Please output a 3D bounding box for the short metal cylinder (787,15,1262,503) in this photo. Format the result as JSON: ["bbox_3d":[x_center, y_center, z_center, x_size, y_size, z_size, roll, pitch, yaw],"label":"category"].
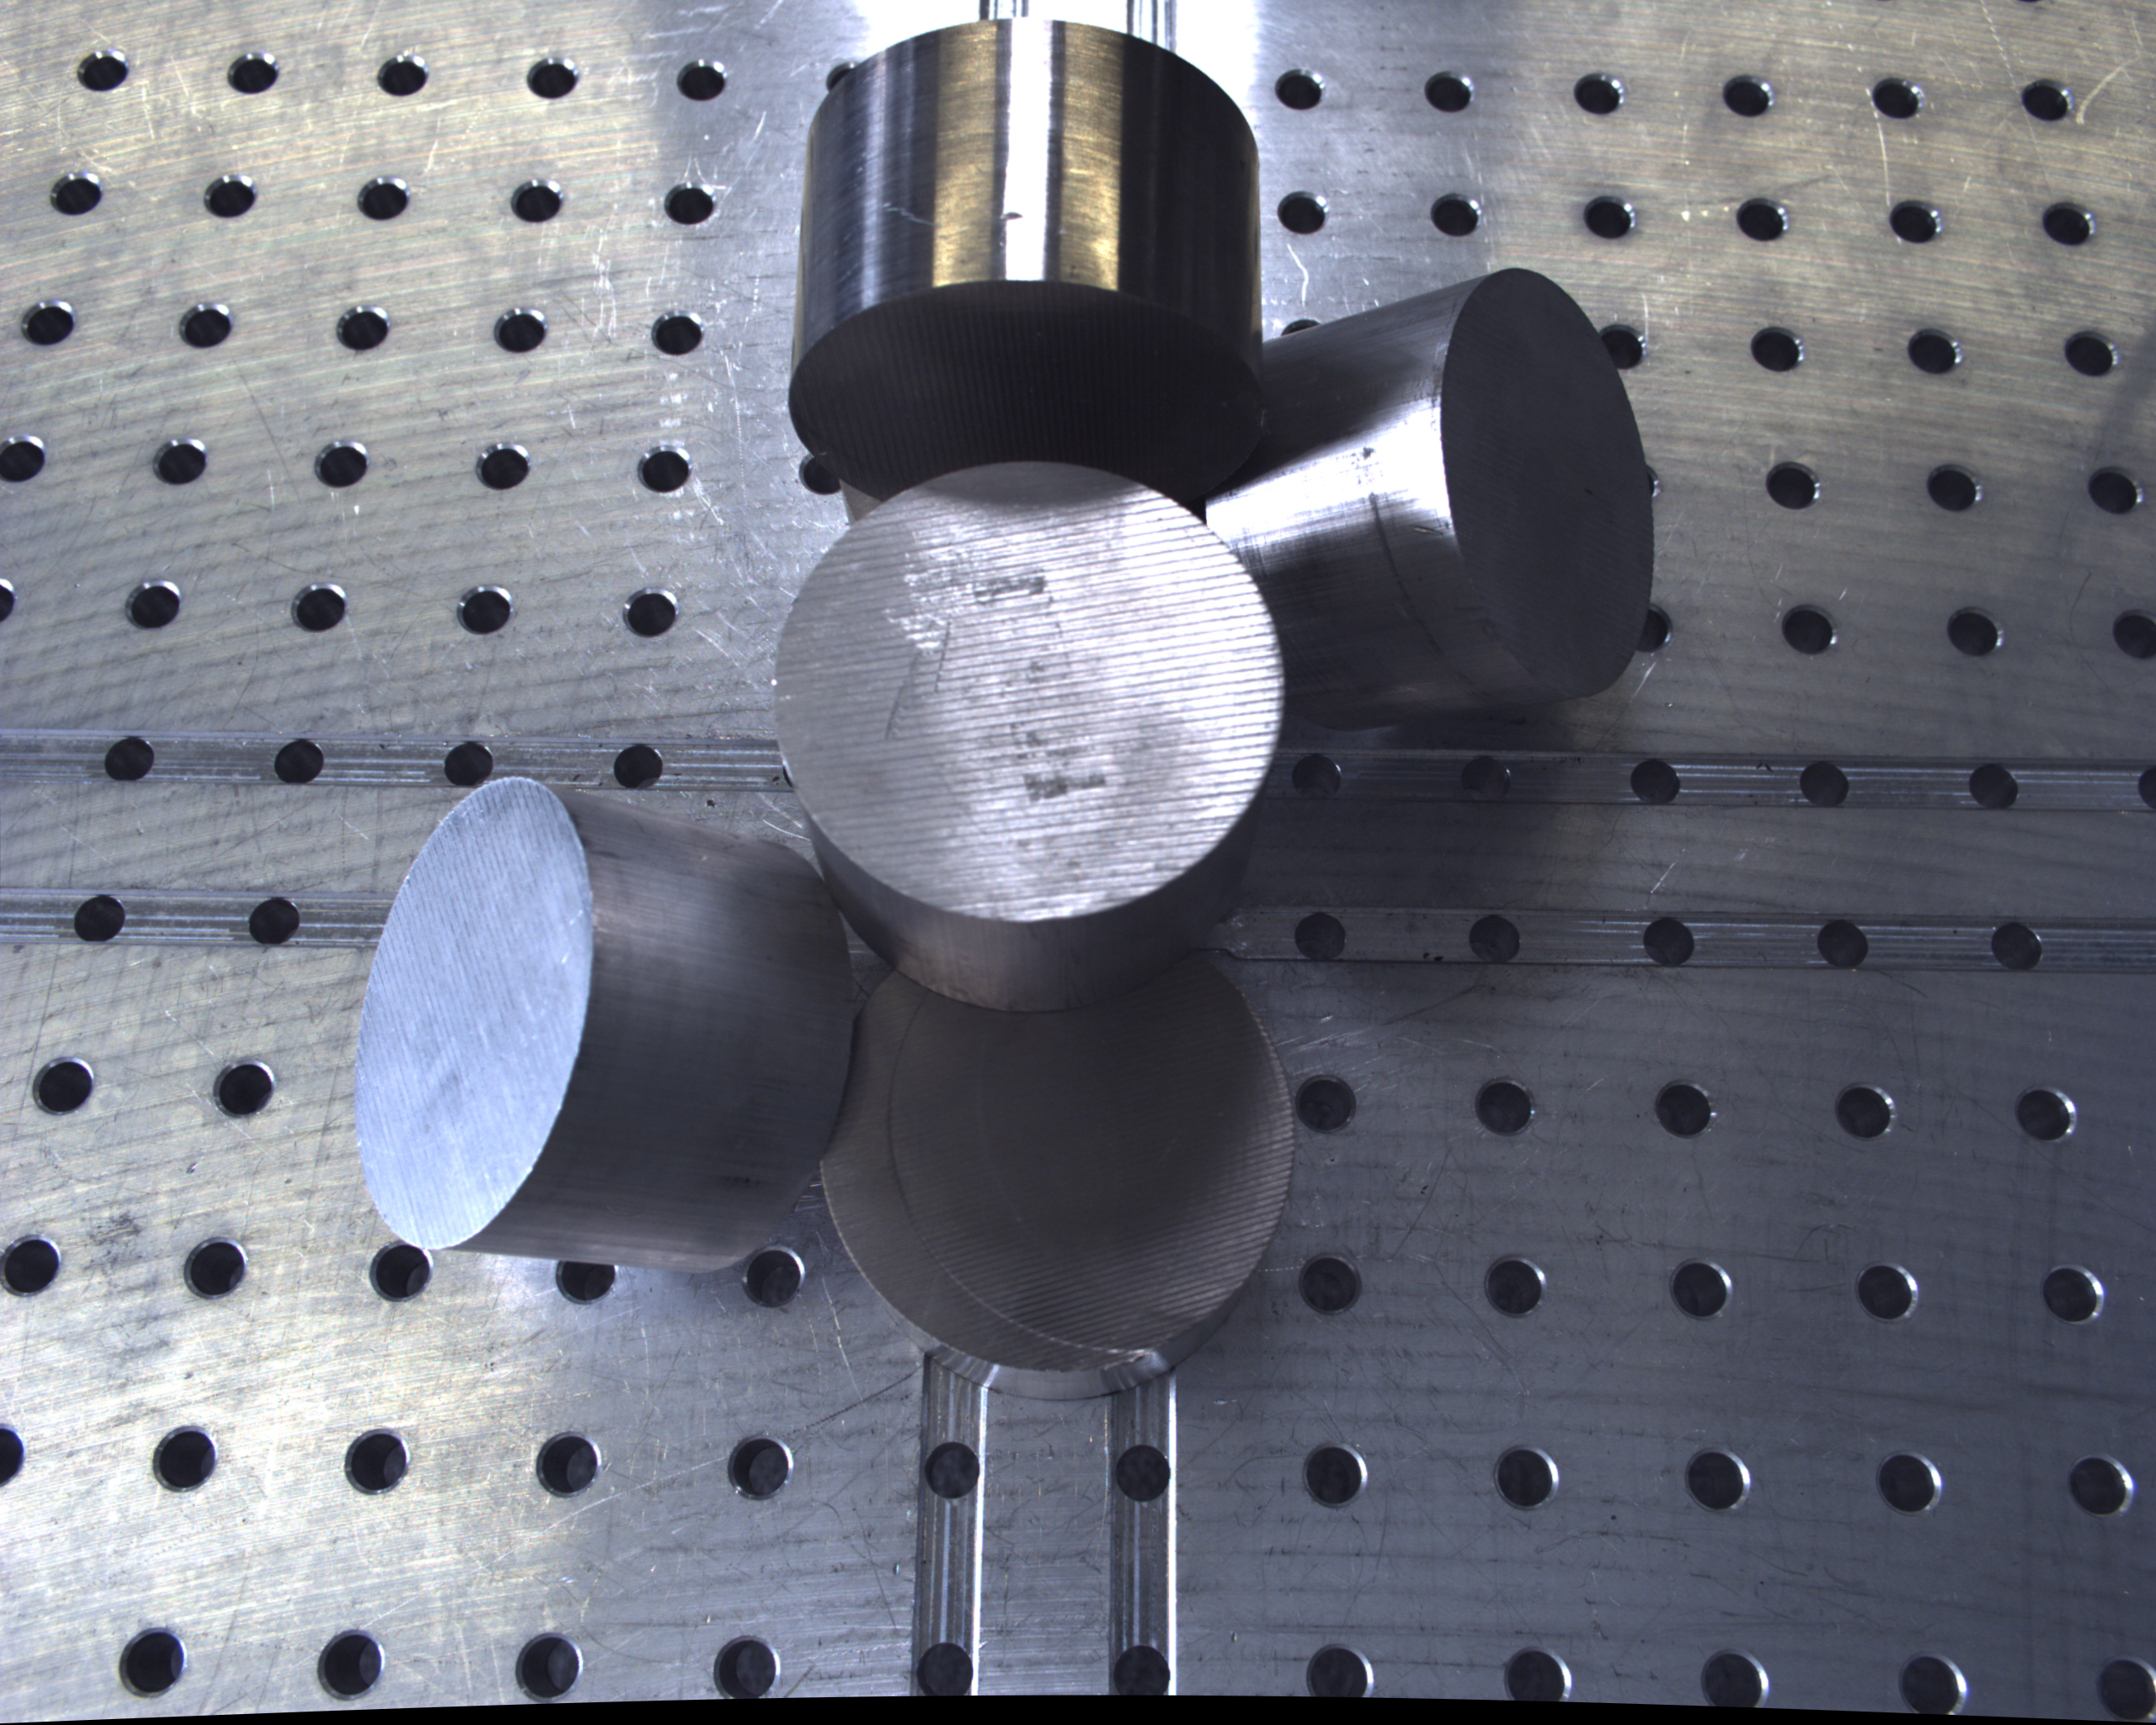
[{"bbox_3d":[-0.009,-0.099,0.364,0.081,0.080,0.050,0,70,0],"label":"short metal cylinder"}]

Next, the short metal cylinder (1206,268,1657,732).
[{"bbox_3d":[0.069,-0.067,0.400,0.050,0.080,0.080,-7,64,41],"label":"short metal cylinder"}]

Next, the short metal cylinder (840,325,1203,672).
[{"bbox_3d":[-0.007,-0.074,0.425,0.081,0.050,0.080,0,71,0],"label":"short metal cylinder"}]

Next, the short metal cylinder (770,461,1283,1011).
[{"bbox_3d":[-0.008,-0.020,0.352,0.081,0.050,0.080,0,70,0],"label":"short metal cylinder"}]

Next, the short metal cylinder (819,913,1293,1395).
[{"bbox_3d":[-0.004,0.054,0.378,0.081,0.050,0.080,0,71,0],"label":"short metal cylinder"}]

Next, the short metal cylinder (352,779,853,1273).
[{"bbox_3d":[-0.084,0.030,0.365,0.050,0.080,0.080,16,63,-42],"label":"short metal cylinder"}]
